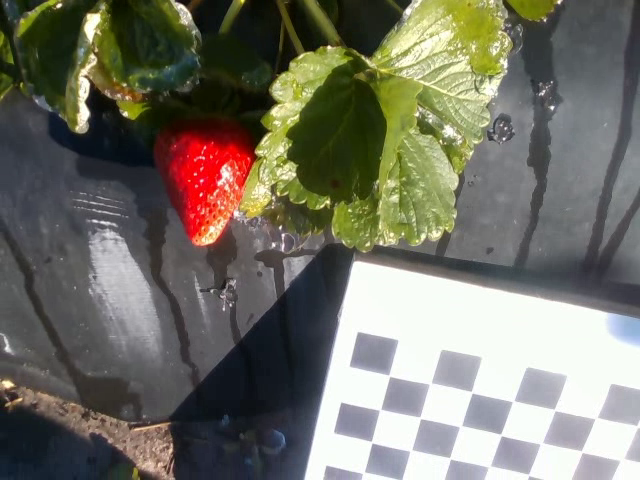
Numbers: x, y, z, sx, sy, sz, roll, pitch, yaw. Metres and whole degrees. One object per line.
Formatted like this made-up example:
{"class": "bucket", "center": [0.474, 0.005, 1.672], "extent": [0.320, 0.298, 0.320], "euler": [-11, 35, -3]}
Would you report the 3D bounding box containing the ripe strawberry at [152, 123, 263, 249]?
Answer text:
{"class": "ripe strawberry", "center": [-0.044, -0.020, 0.227], "extent": [0.041, 0.053, 0.047], "euler": [6, -18, 3]}
